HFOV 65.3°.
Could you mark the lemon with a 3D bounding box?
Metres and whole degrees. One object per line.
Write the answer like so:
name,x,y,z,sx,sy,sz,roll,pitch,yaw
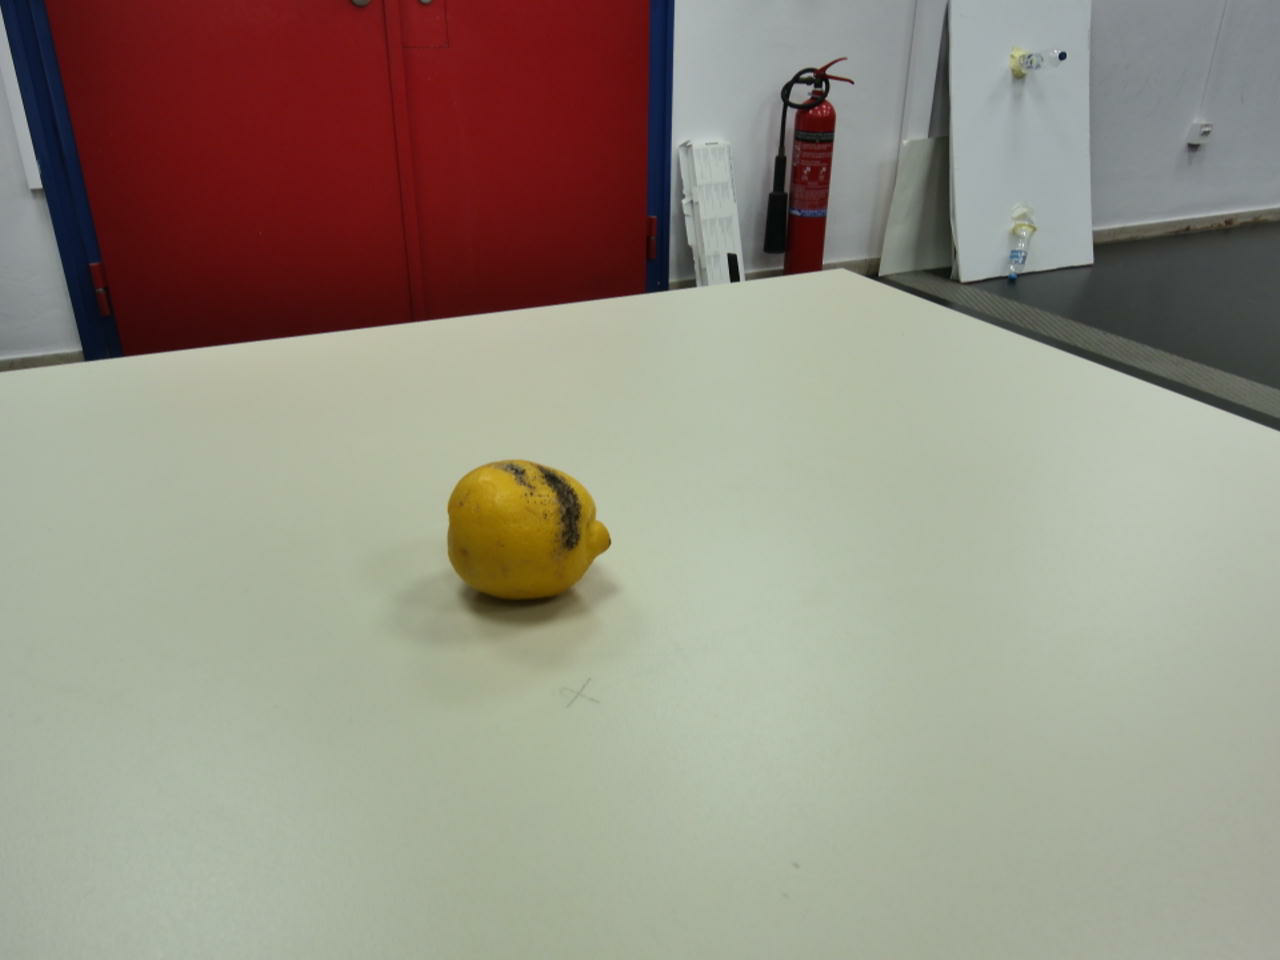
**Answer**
lemon,-0.049,0.020,0.405,0.061,0.056,0.058,-16,28,-31
